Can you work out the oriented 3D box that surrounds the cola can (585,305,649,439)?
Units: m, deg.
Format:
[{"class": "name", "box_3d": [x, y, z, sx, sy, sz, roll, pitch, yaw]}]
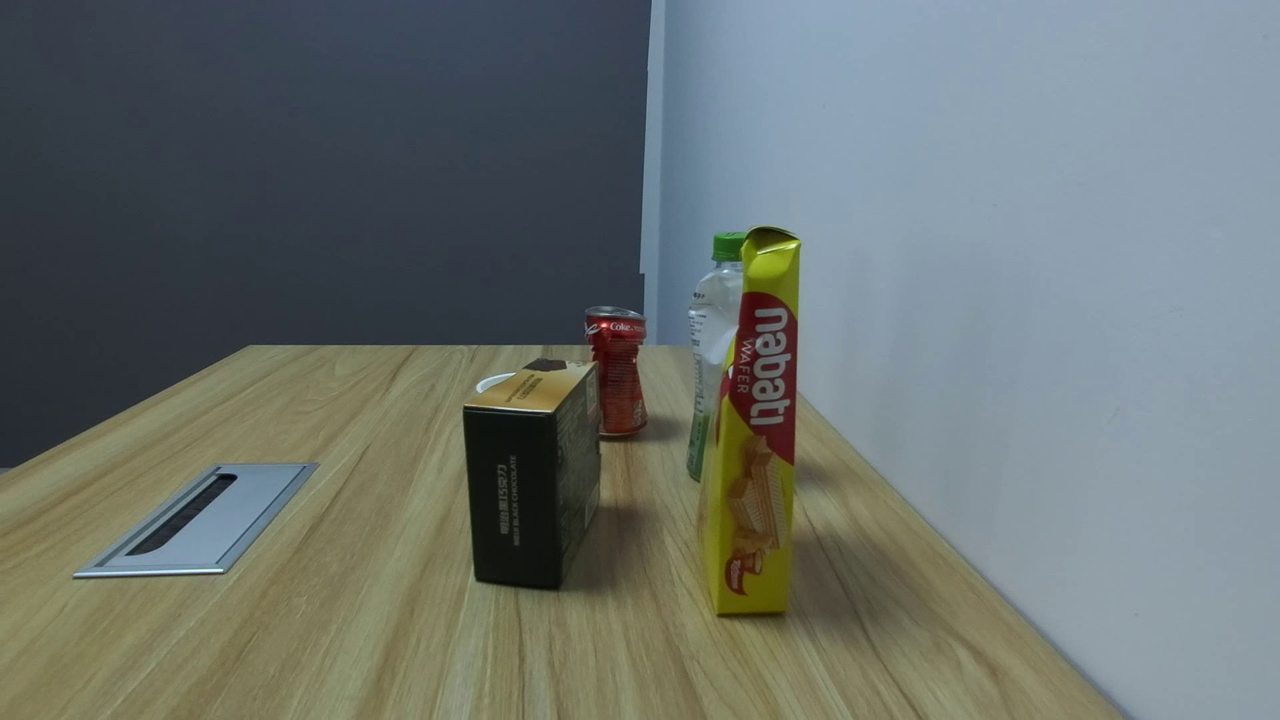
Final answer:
[{"class": "cola can", "box_3d": [-0.024, 0.011, 0.636, 0.065, 0.112, 0.069, 5, 15, 15]}]

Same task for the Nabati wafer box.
[{"class": "Nabati wafer box", "box_3d": [0.060, 0.028, 0.392, 0.042, 0.205, 0.113, 2, 15, -2]}]
